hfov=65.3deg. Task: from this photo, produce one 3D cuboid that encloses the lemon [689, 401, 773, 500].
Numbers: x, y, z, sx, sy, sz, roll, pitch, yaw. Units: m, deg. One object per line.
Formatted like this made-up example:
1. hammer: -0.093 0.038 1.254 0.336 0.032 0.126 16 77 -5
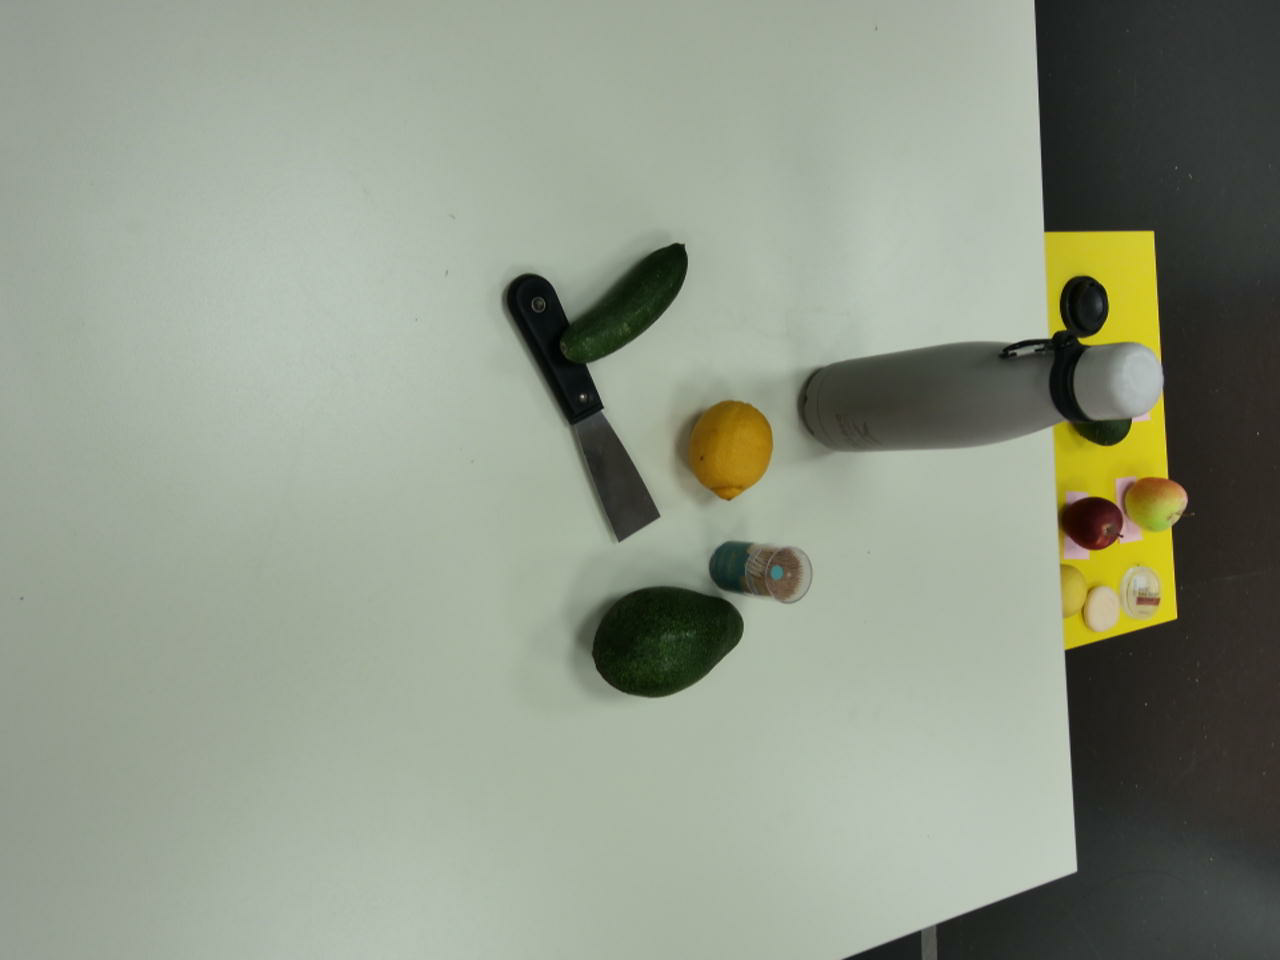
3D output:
1. lemon: 0.065 -0.023 0.722 0.061 0.059 0.066 40 72 -22
